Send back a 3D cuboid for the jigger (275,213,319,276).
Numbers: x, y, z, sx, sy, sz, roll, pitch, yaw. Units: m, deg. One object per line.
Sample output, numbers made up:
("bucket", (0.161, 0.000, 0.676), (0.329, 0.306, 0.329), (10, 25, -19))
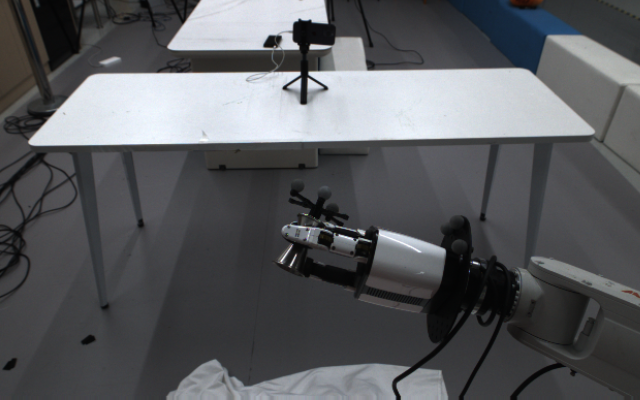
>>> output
("jigger", (-0.025, 0.053, 0.593), (0.043, 0.043, 0.071), (20, 72, 23))
